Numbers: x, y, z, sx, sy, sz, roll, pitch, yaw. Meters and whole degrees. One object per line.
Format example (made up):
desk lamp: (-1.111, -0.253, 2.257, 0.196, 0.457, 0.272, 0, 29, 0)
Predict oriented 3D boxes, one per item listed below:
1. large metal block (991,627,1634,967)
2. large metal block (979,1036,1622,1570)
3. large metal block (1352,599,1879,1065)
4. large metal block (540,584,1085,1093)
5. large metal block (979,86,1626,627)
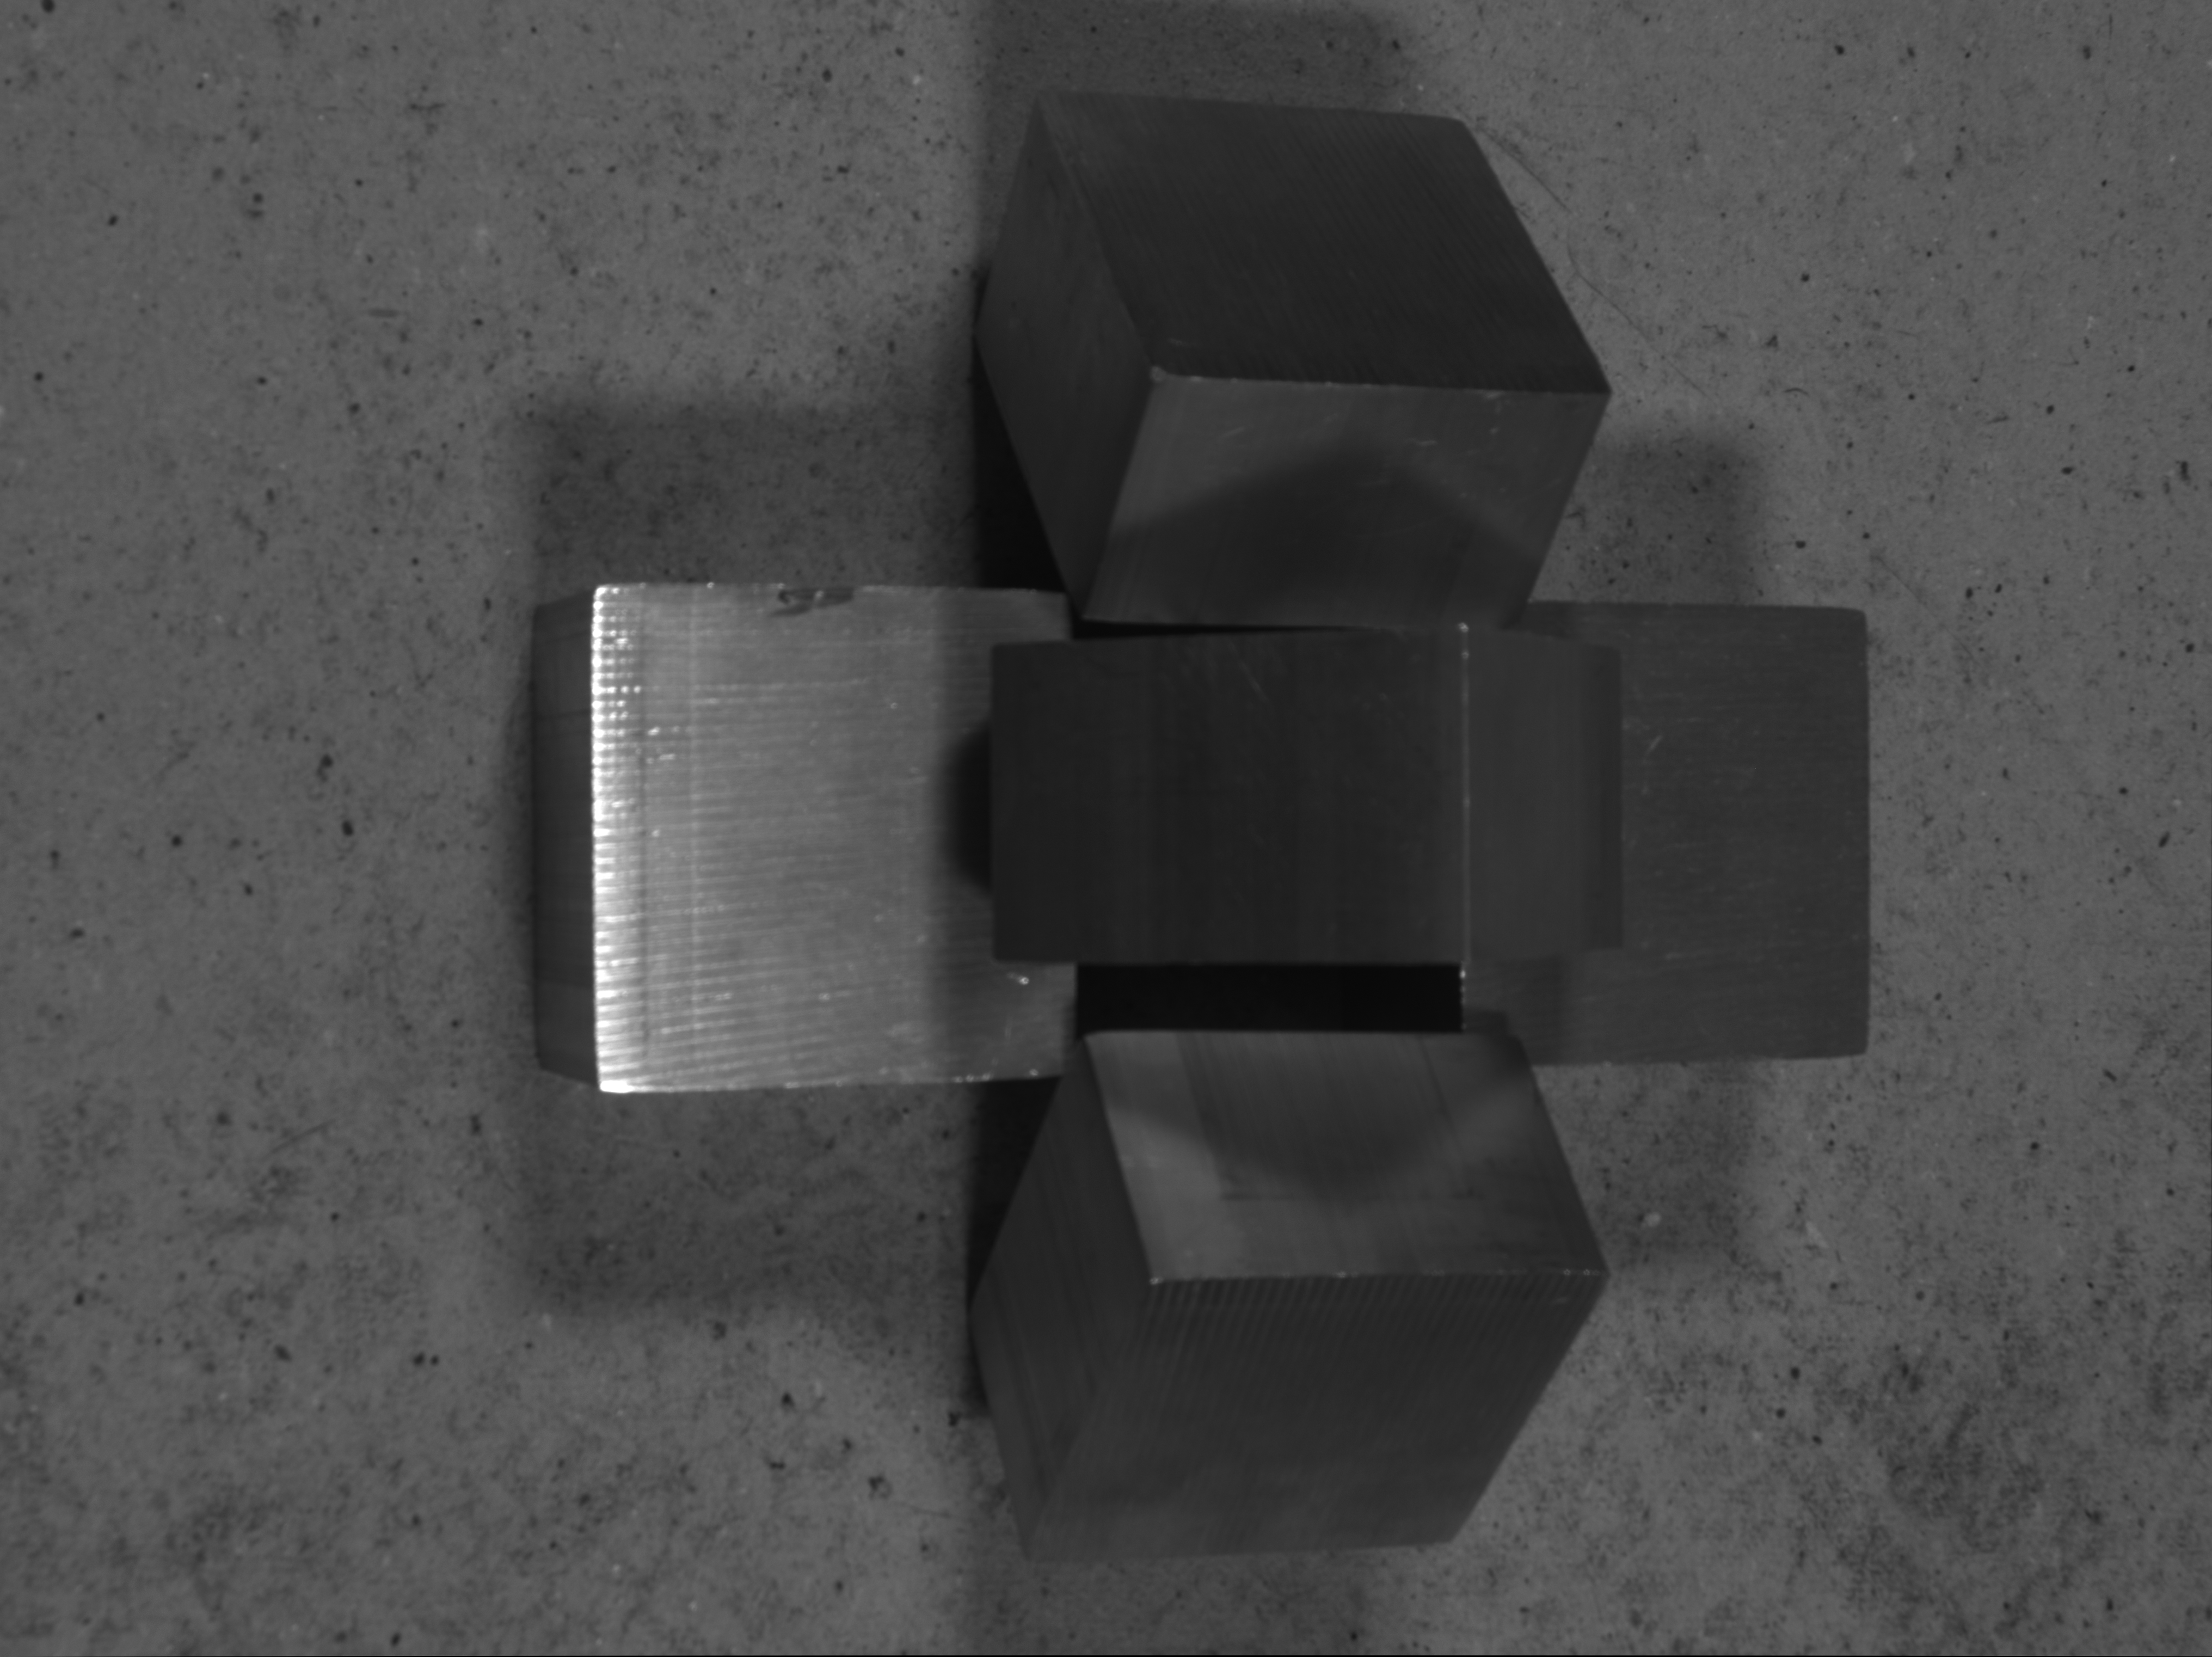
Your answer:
large metal block: (0.035, -0.005, 0.592, 0.080, 0.080, 0.050, 0, 90, 24)
large metal block: (0.030, 0.080, 0.619, 0.080, 0.080, 0.050, 1, 46, -19)
large metal block: (0.091, 0.001, 0.660, 0.080, 0.050, 0.080, 0, 90, -20)
large metal block: (-0.050, 0.001, 0.612, 0.080, 0.050, 0.080, 0, 90, -20)
large metal block: (0.031, -0.079, 0.619, 0.080, 0.080, 0.050, 0, 134, -20)
